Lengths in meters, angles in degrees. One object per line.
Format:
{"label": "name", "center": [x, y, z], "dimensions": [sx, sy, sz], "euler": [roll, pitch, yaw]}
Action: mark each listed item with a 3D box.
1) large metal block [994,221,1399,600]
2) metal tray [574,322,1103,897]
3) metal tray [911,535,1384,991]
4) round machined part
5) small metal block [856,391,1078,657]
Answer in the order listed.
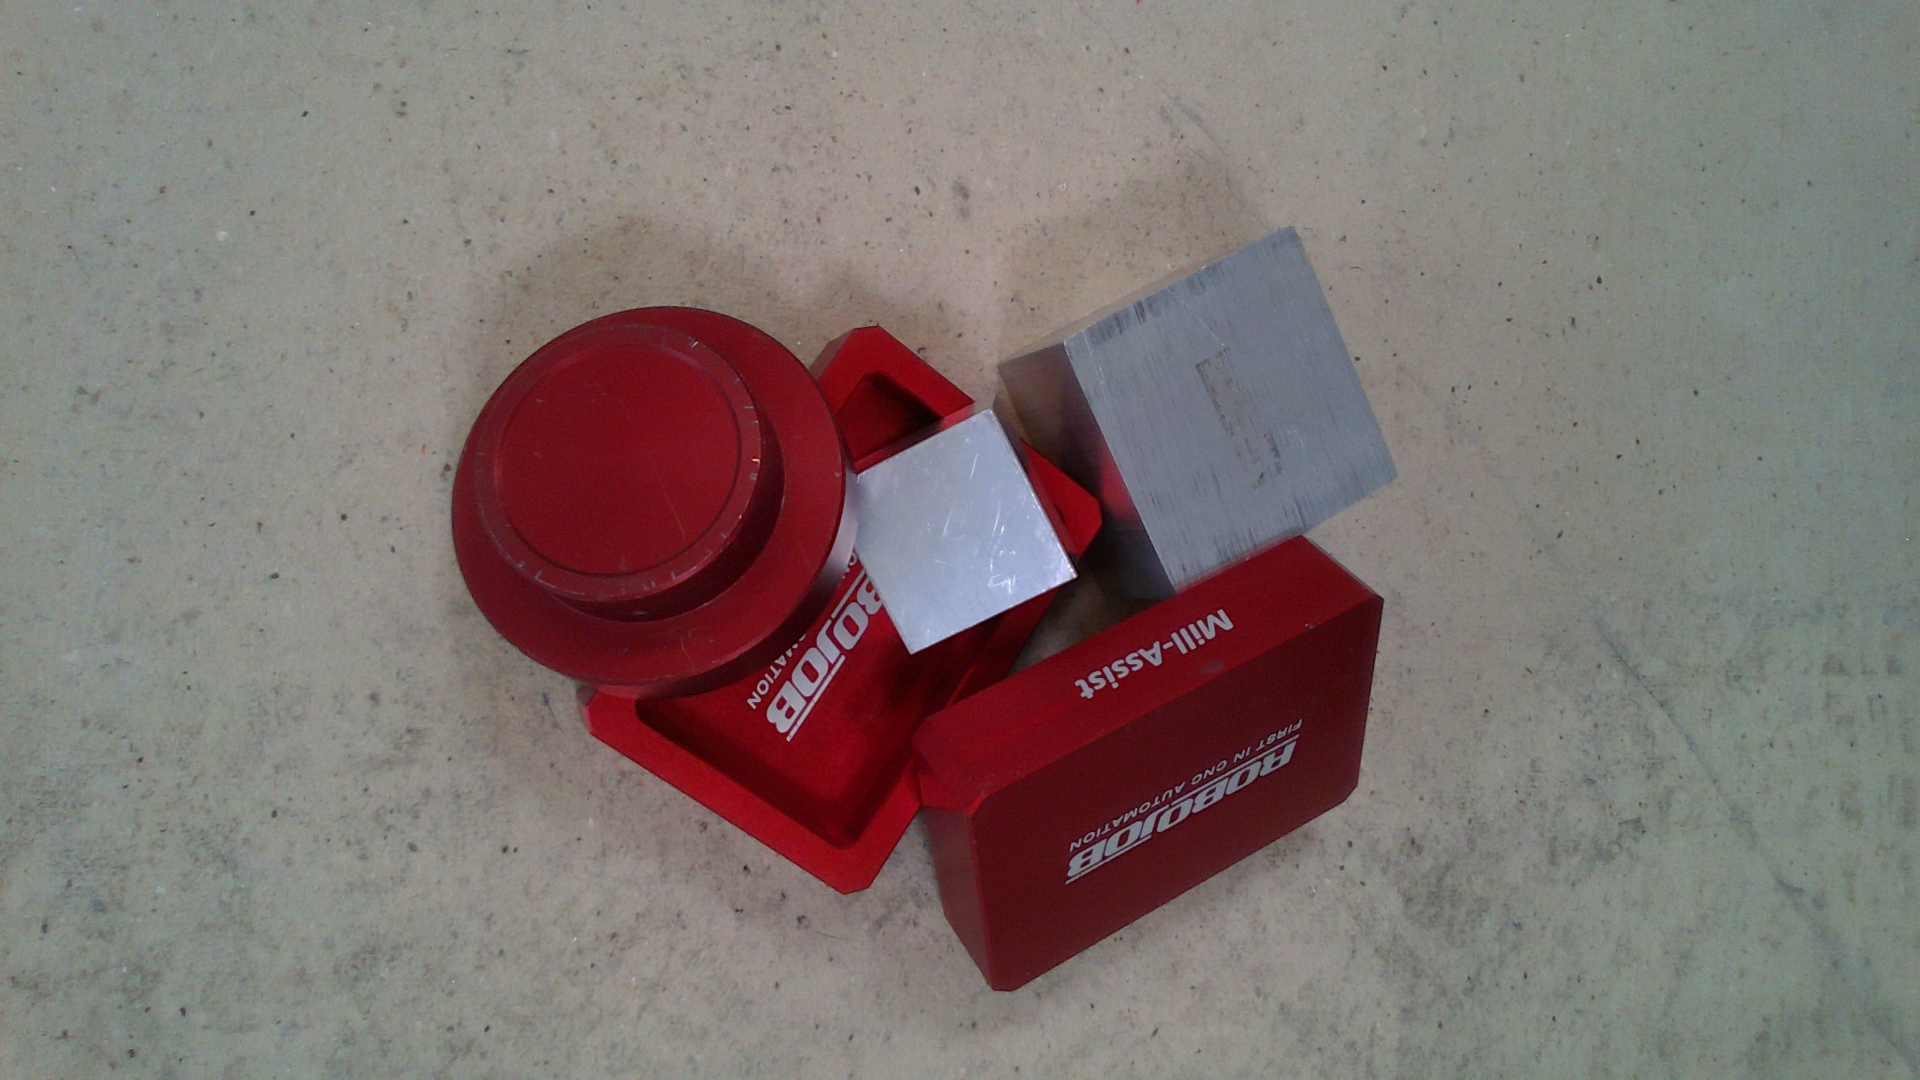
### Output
{"label": "large metal block", "center": [0.069, -0.036, 0.406], "dimensions": [0.080, 0.050, 0.080], "euler": [-28, 99, -18]}
{"label": "metal tray", "center": [-0.031, 0.018, 0.379], "dimensions": [0.090, 0.030, 0.130], "euler": [37, 78, -16]}
{"label": "metal tray", "center": [0.055, 0.063, 0.386], "dimensions": [0.130, 0.030, 0.090], "euler": [-24, 134, -18]}
{"label": "round machined part", "center": [-0.077, -0.013, 0.334], "dimensions": [0.098, 0.042, 0.098], "euler": [-1, 73, 5]}
{"label": "small metal block", "center": [-0.002, -0.005, 0.368], "dimensions": [0.050, 0.025, 0.050], "euler": [-26, 102, 10]}
